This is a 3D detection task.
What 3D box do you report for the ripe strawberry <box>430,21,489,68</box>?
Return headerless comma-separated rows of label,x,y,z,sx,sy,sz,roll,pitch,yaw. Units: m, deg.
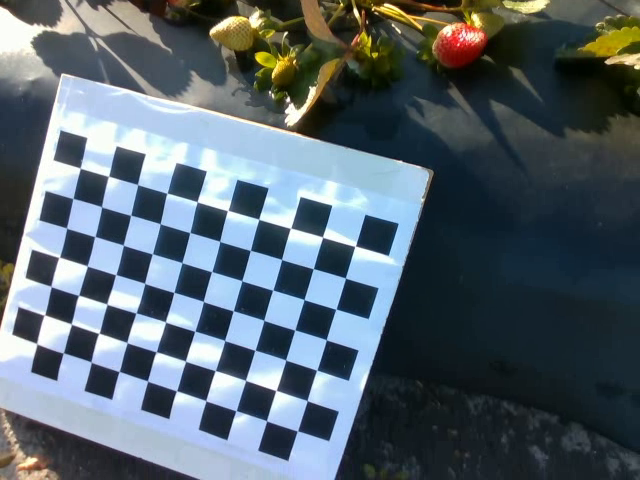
ripe strawberry,0.091,-0.123,0.336,0.042,0.037,0.045,-3,3,-19
